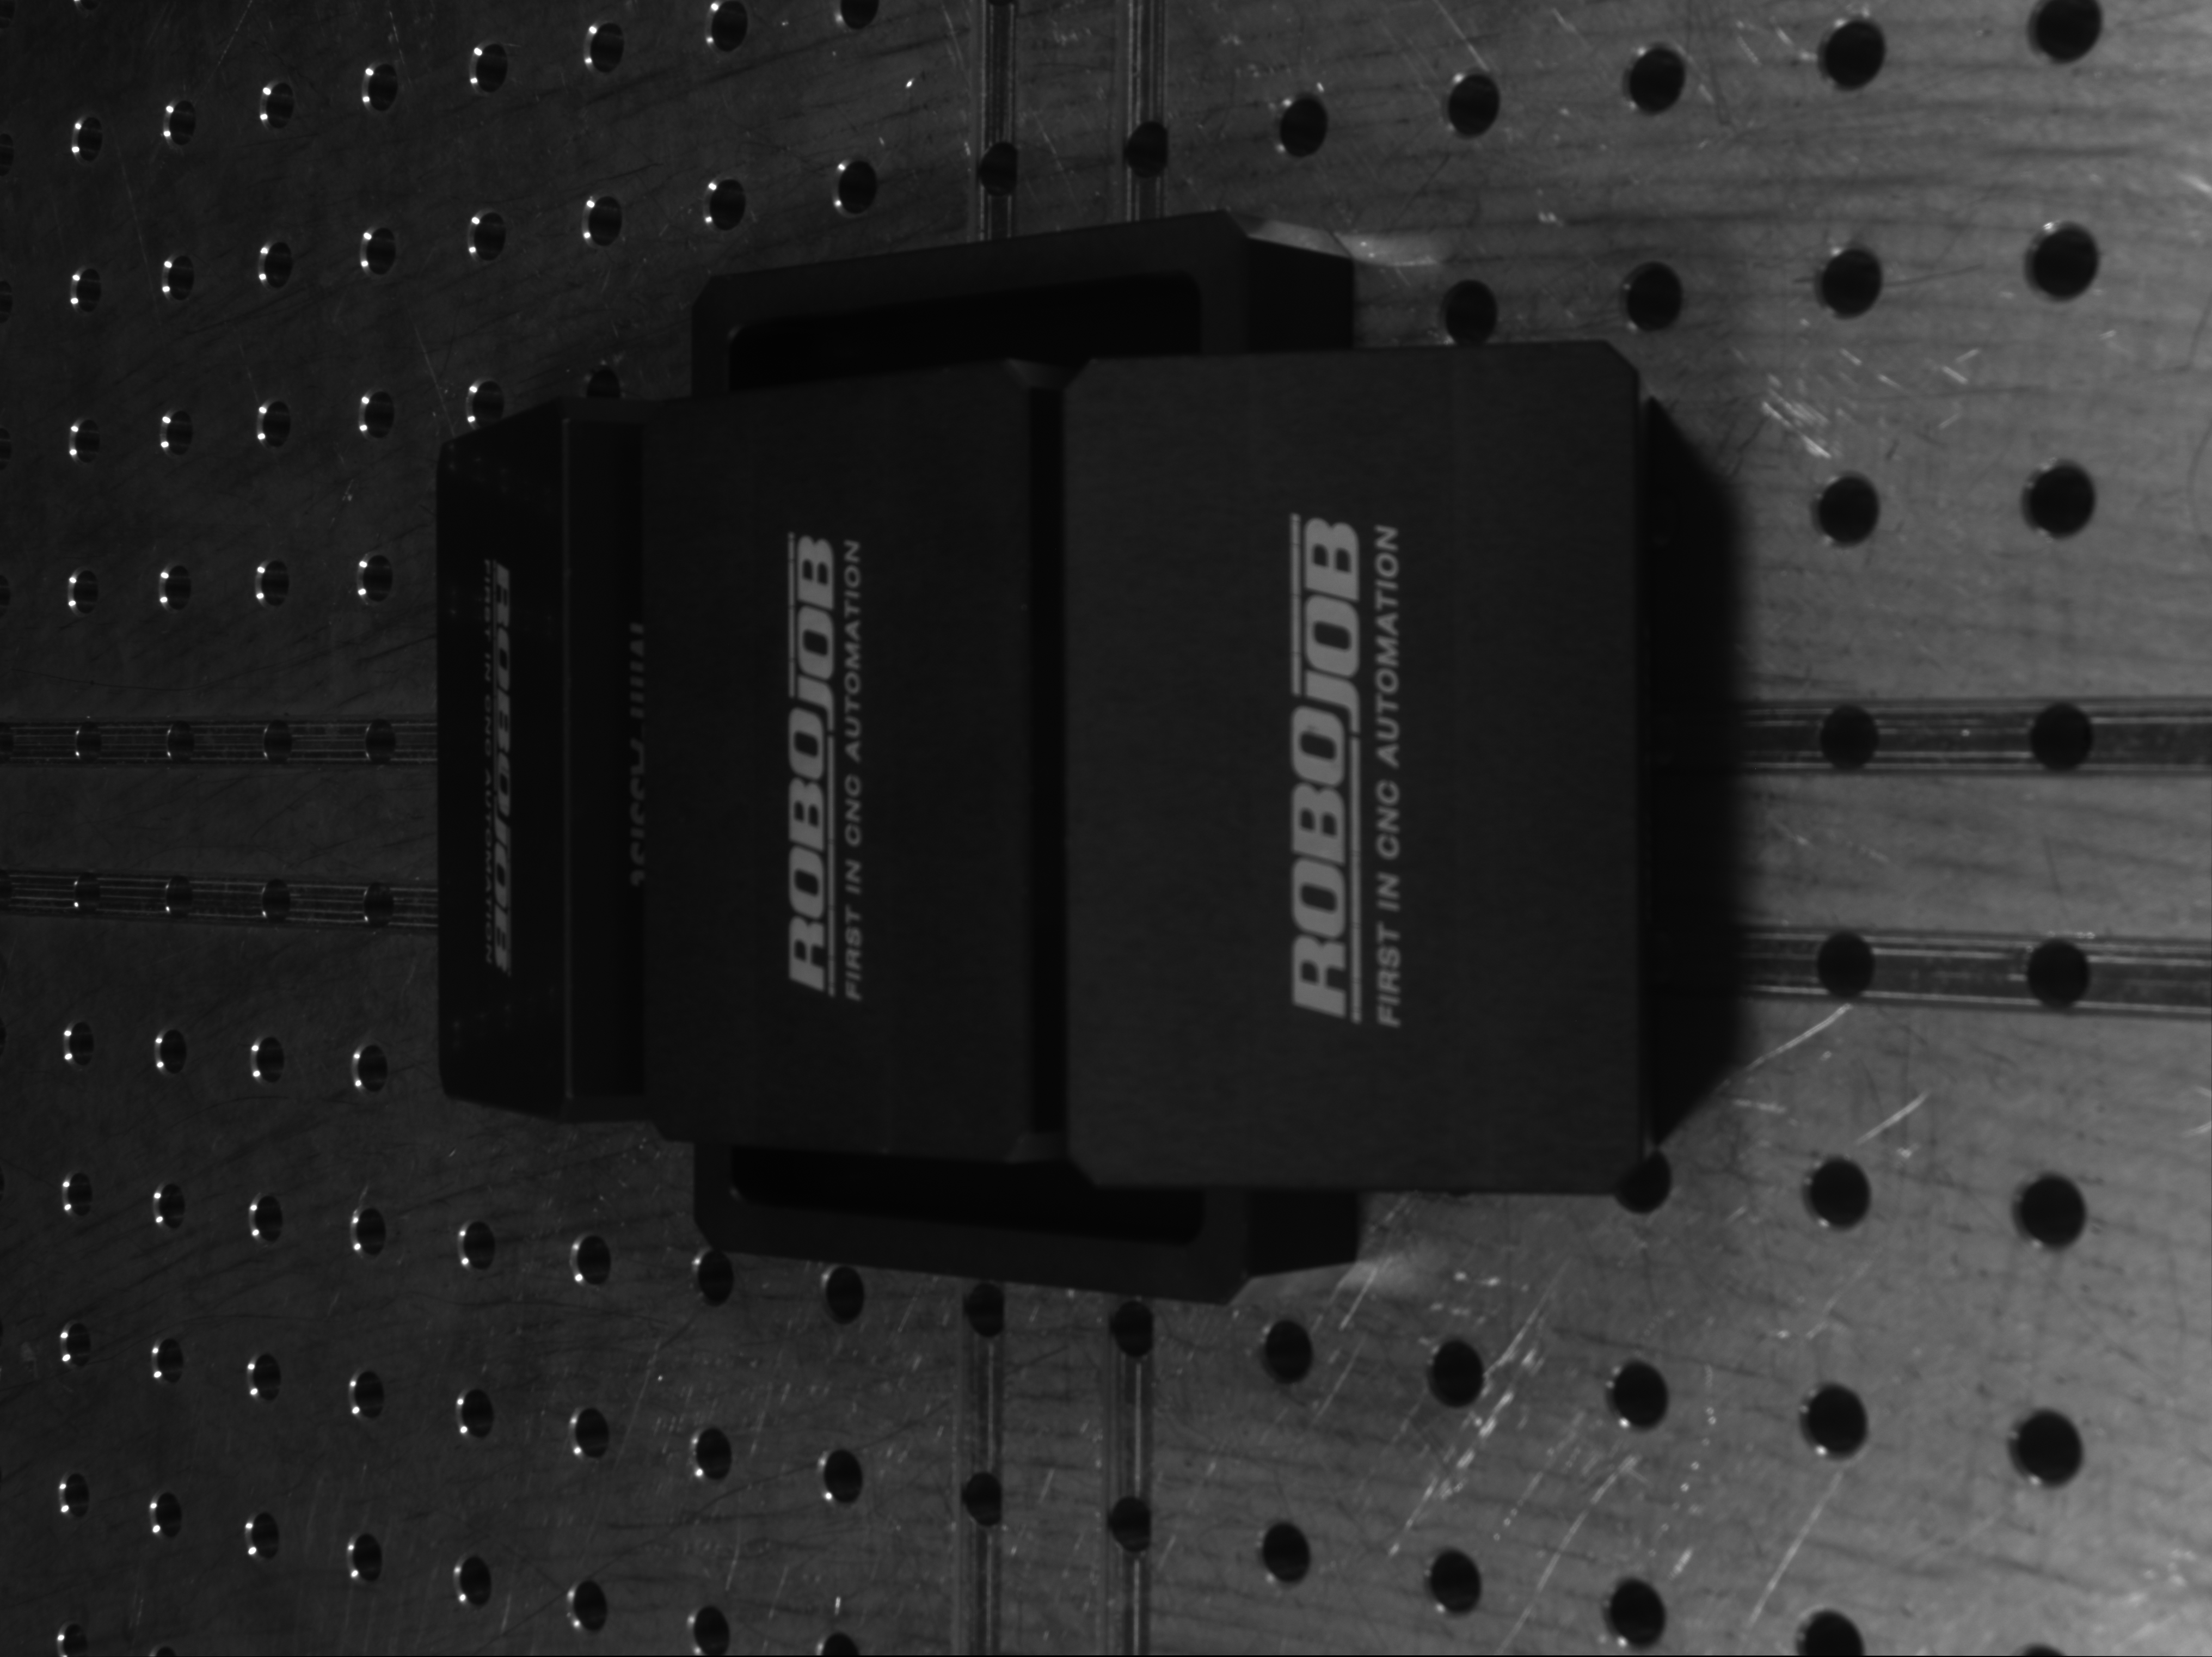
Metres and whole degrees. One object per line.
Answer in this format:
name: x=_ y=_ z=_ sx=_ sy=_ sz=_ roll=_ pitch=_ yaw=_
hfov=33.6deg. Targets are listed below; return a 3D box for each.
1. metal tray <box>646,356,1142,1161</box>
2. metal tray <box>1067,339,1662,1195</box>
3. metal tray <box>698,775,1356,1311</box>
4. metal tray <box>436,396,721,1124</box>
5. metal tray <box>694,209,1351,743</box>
metal tray: x=-0.037 y=-0.011 z=0.627 sx=0.090 sy=0.030 sz=0.130 roll=-1 pitch=89 yaw=39
metal tray: x=0.041 y=-0.009 z=0.578 sx=0.090 sy=0.030 sz=0.130 roll=-1 pitch=90 yaw=12
metal tray: x=-0.017 y=0.034 z=0.650 sx=0.130 sy=0.030 sz=0.090 roll=0 pitch=90 yaw=39
metal tray: x=-0.101 y=-0.012 z=0.696 sx=0.090 sy=0.030 sz=0.130 roll=179 pitch=90 yaw=-65
metal tray: x=-0.018 y=-0.057 z=0.650 sx=0.130 sy=0.030 sz=0.090 roll=0 pitch=90 yaw=39
